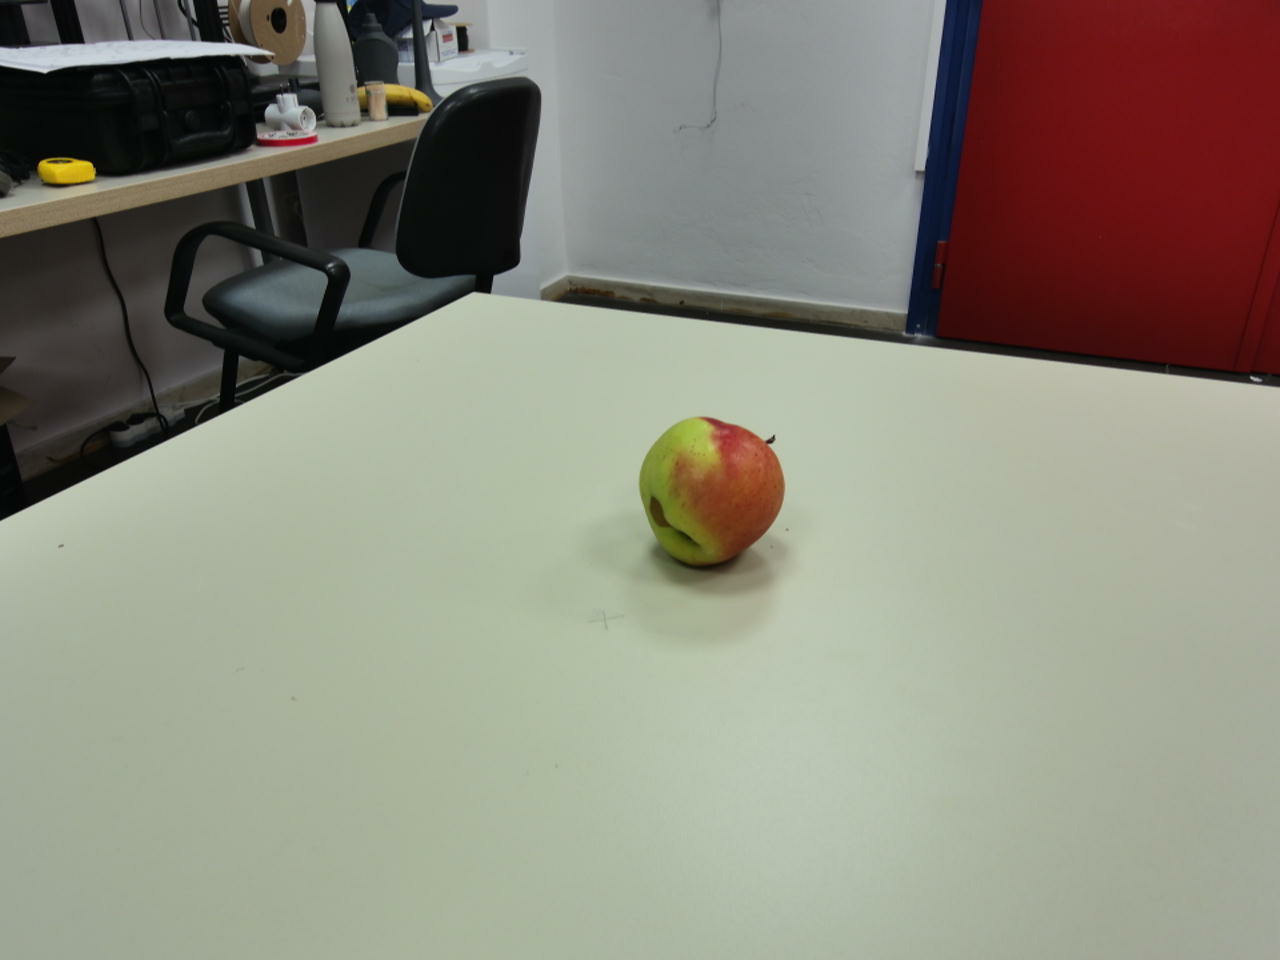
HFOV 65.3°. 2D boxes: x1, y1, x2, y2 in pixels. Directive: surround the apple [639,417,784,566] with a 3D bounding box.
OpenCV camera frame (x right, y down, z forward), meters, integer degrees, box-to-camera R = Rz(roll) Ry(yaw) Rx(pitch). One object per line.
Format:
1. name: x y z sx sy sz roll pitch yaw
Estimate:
1. apple: 0.037 0.006 0.520 0.075 0.074 0.075 1 25 4
